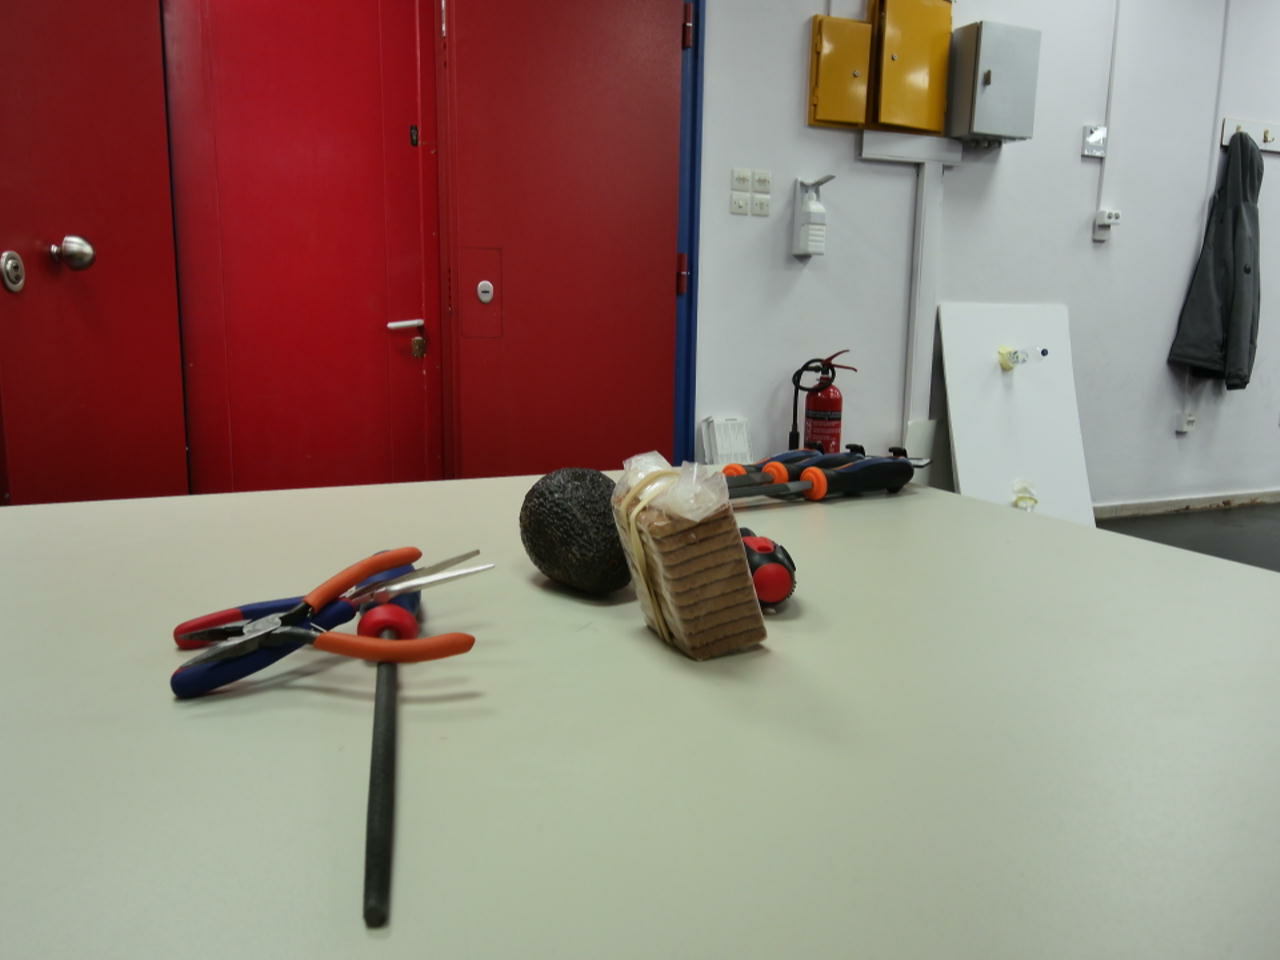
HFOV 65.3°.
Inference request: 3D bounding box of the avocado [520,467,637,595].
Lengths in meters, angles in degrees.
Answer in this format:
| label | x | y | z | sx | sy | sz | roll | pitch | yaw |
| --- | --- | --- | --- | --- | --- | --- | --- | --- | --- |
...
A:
| label | x | y | z | sx | sy | sz | roll | pitch | yaw |
| --- | --- | --- | --- | --- | --- | --- | --- | --- | --- |
| avocado | -0.037 | 0.028 | 0.589 | 0.070 | 0.069 | 0.090 | 1 | 8 | 1 |
